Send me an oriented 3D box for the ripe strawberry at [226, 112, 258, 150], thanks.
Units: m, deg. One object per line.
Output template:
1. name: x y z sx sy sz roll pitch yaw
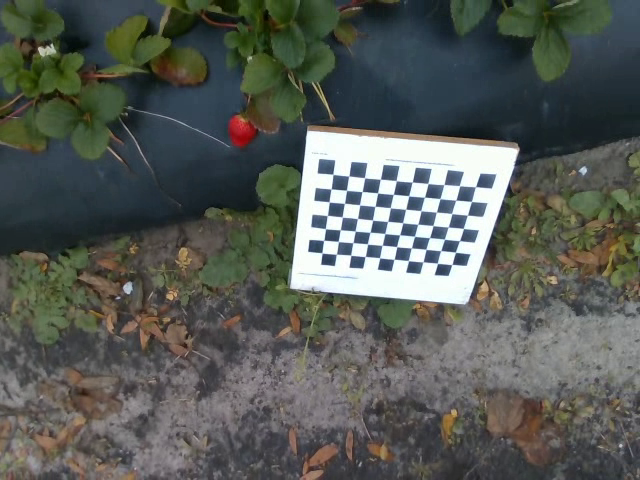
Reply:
1. ripe strawberry: -0.076 -0.101 0.582 0.028 0.033 0.023 21 29 -6
